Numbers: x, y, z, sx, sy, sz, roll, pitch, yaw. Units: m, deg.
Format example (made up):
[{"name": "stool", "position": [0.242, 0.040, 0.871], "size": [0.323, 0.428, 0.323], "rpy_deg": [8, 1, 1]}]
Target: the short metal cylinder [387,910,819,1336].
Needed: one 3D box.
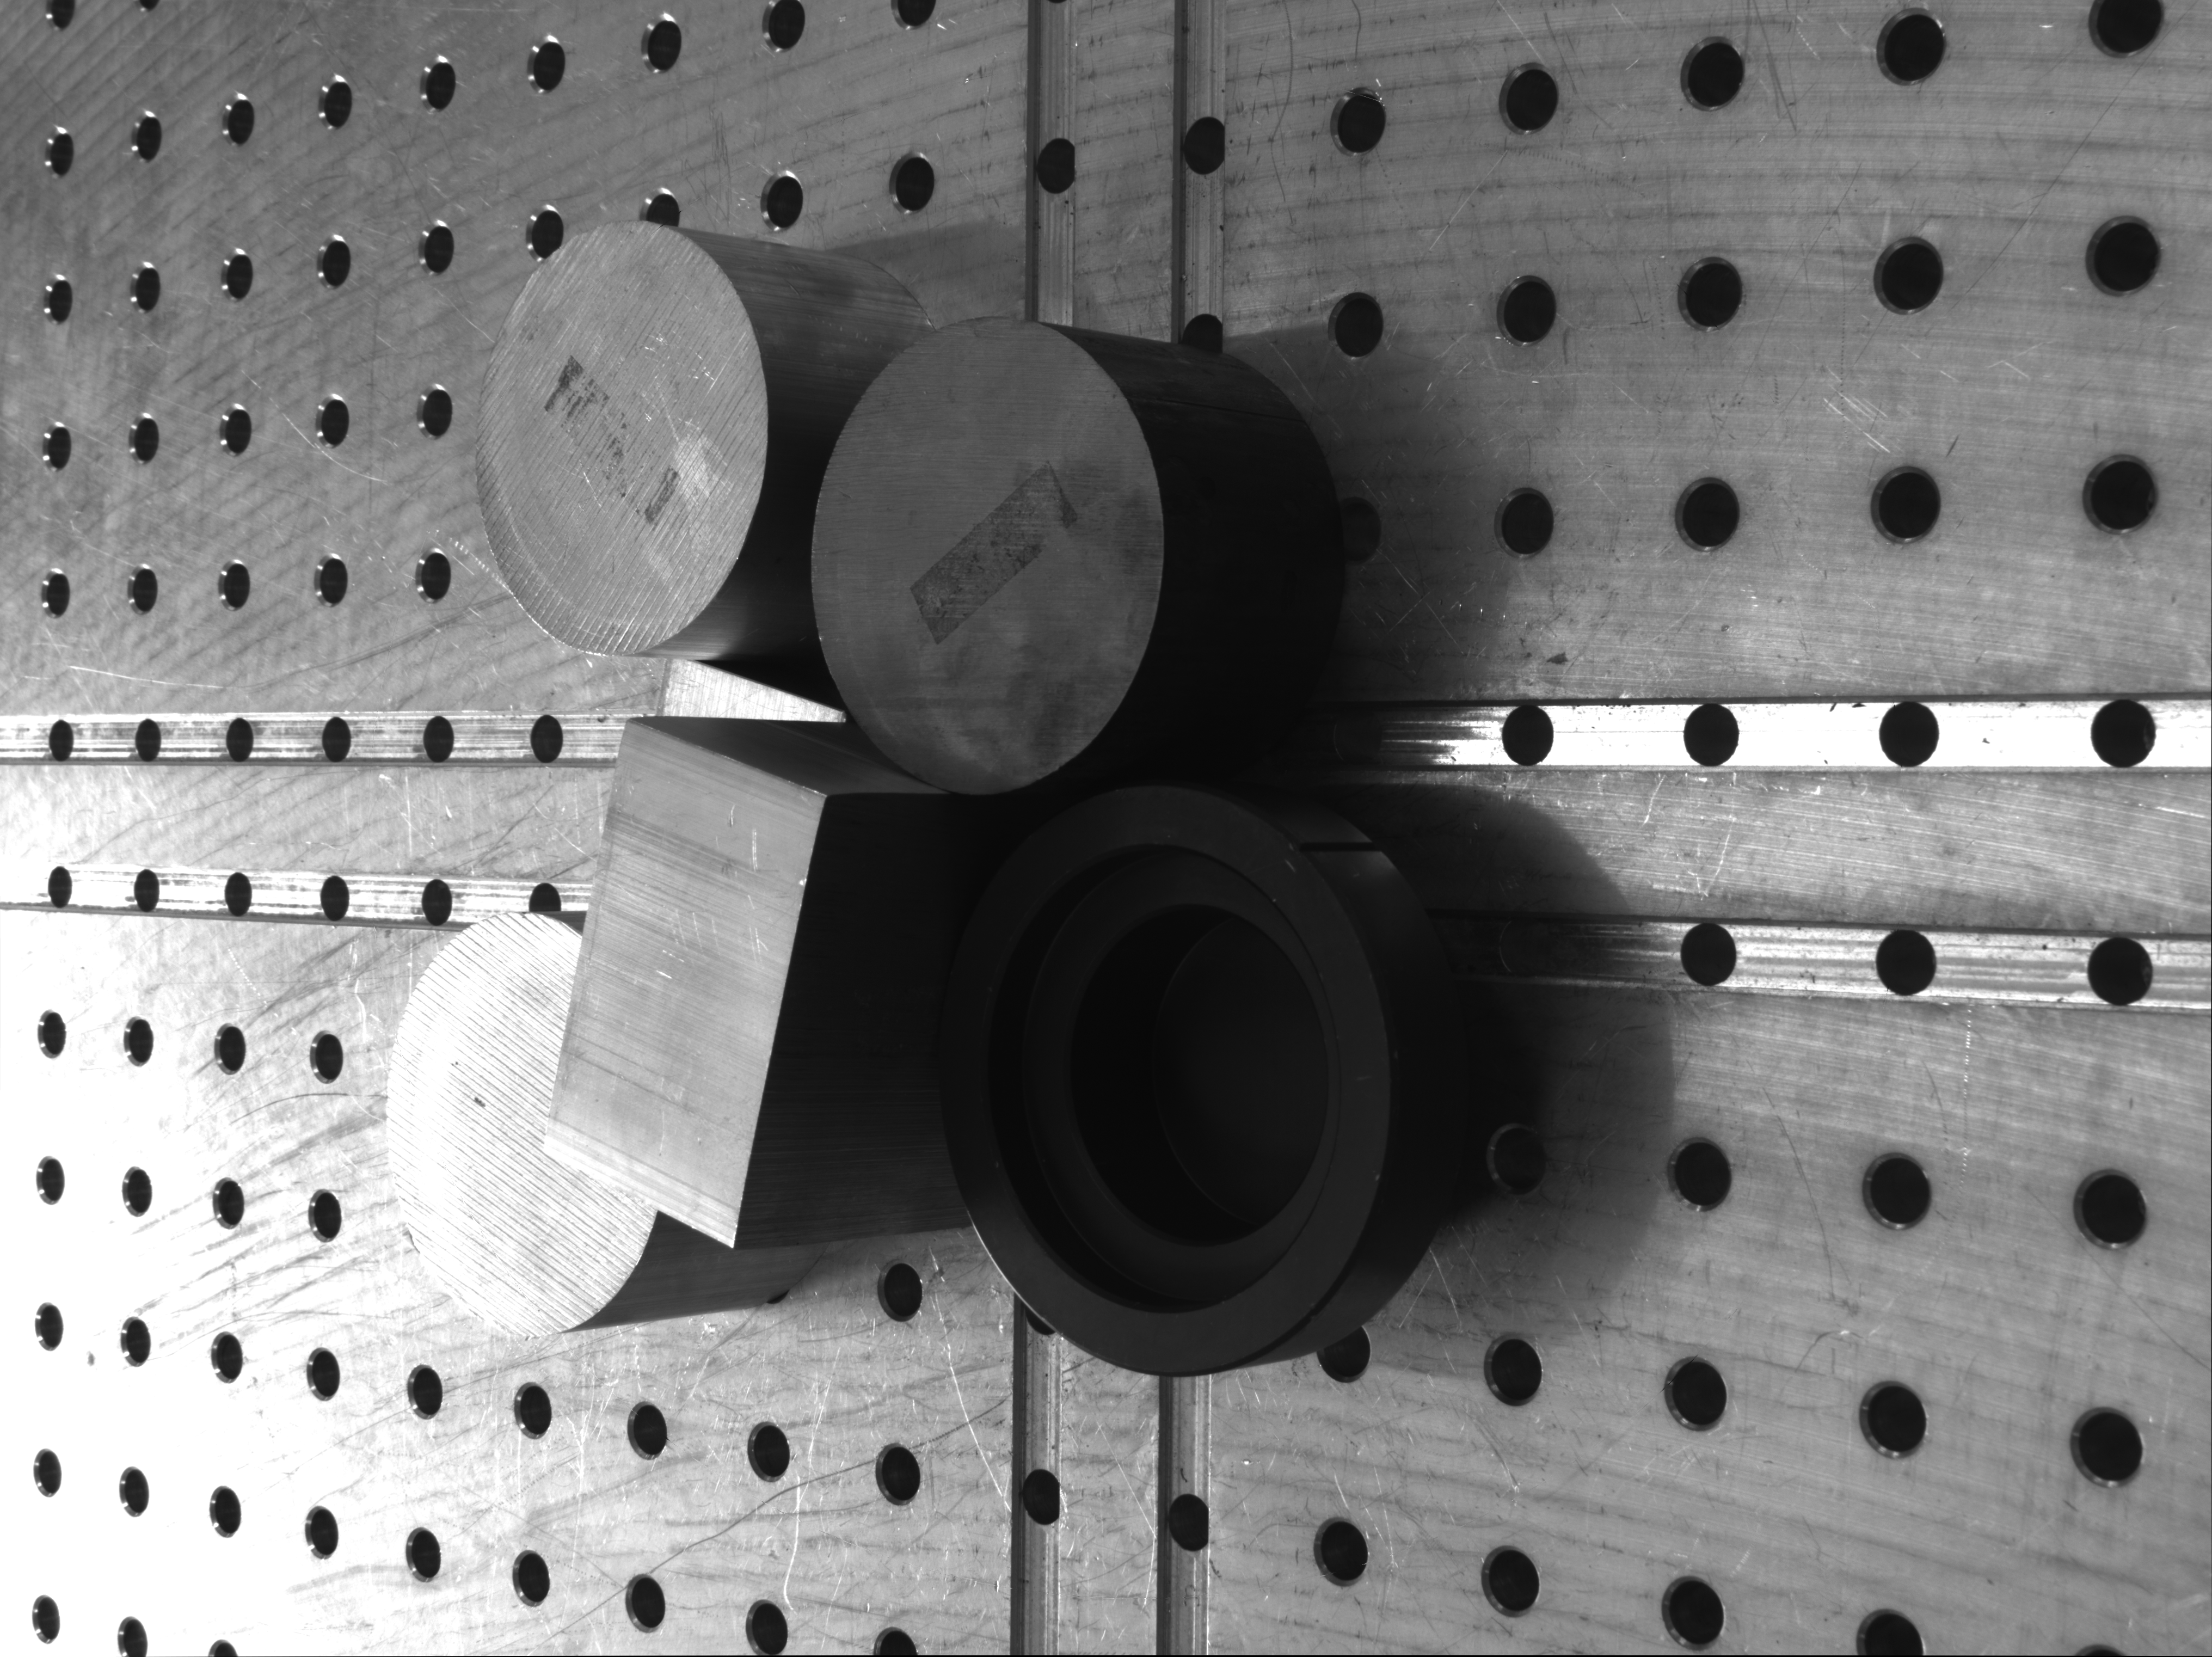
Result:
[{"name": "short metal cylinder", "position": [-0.094, 0.056, 0.710], "size": [0.080, 0.050, 0.080], "rpy_deg": [0, 90, 40]}]

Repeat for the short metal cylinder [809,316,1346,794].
[{"name": "short metal cylinder", "position": [-0.005, -0.046, 0.636], "size": [0.080, 0.050, 0.080], "rpy_deg": [0, 90, 40]}]

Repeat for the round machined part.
[{"name": "round machined part", "position": [0.021, 0.041, 0.619], "size": [0.098, 0.042, 0.098], "rpy_deg": [0, 90, 40]}]

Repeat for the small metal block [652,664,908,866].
[{"name": "small metal block", "position": [-0.063, -0.004, 0.701], "size": [0.050, 0.025, 0.050], "rpy_deg": [19, 102, 39]}]

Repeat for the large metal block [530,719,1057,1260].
[{"name": "large metal block", "position": [-0.048, 0.027, 0.649], "size": [0.050, 0.080, 0.080], "rpy_deg": [20, 103, 38]}]

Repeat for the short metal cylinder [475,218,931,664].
[{"name": "short metal cylinder", "position": [-0.074, -0.072, 0.694], "size": [0.080, 0.050, 0.080], "rpy_deg": [0, 90, 40]}]
